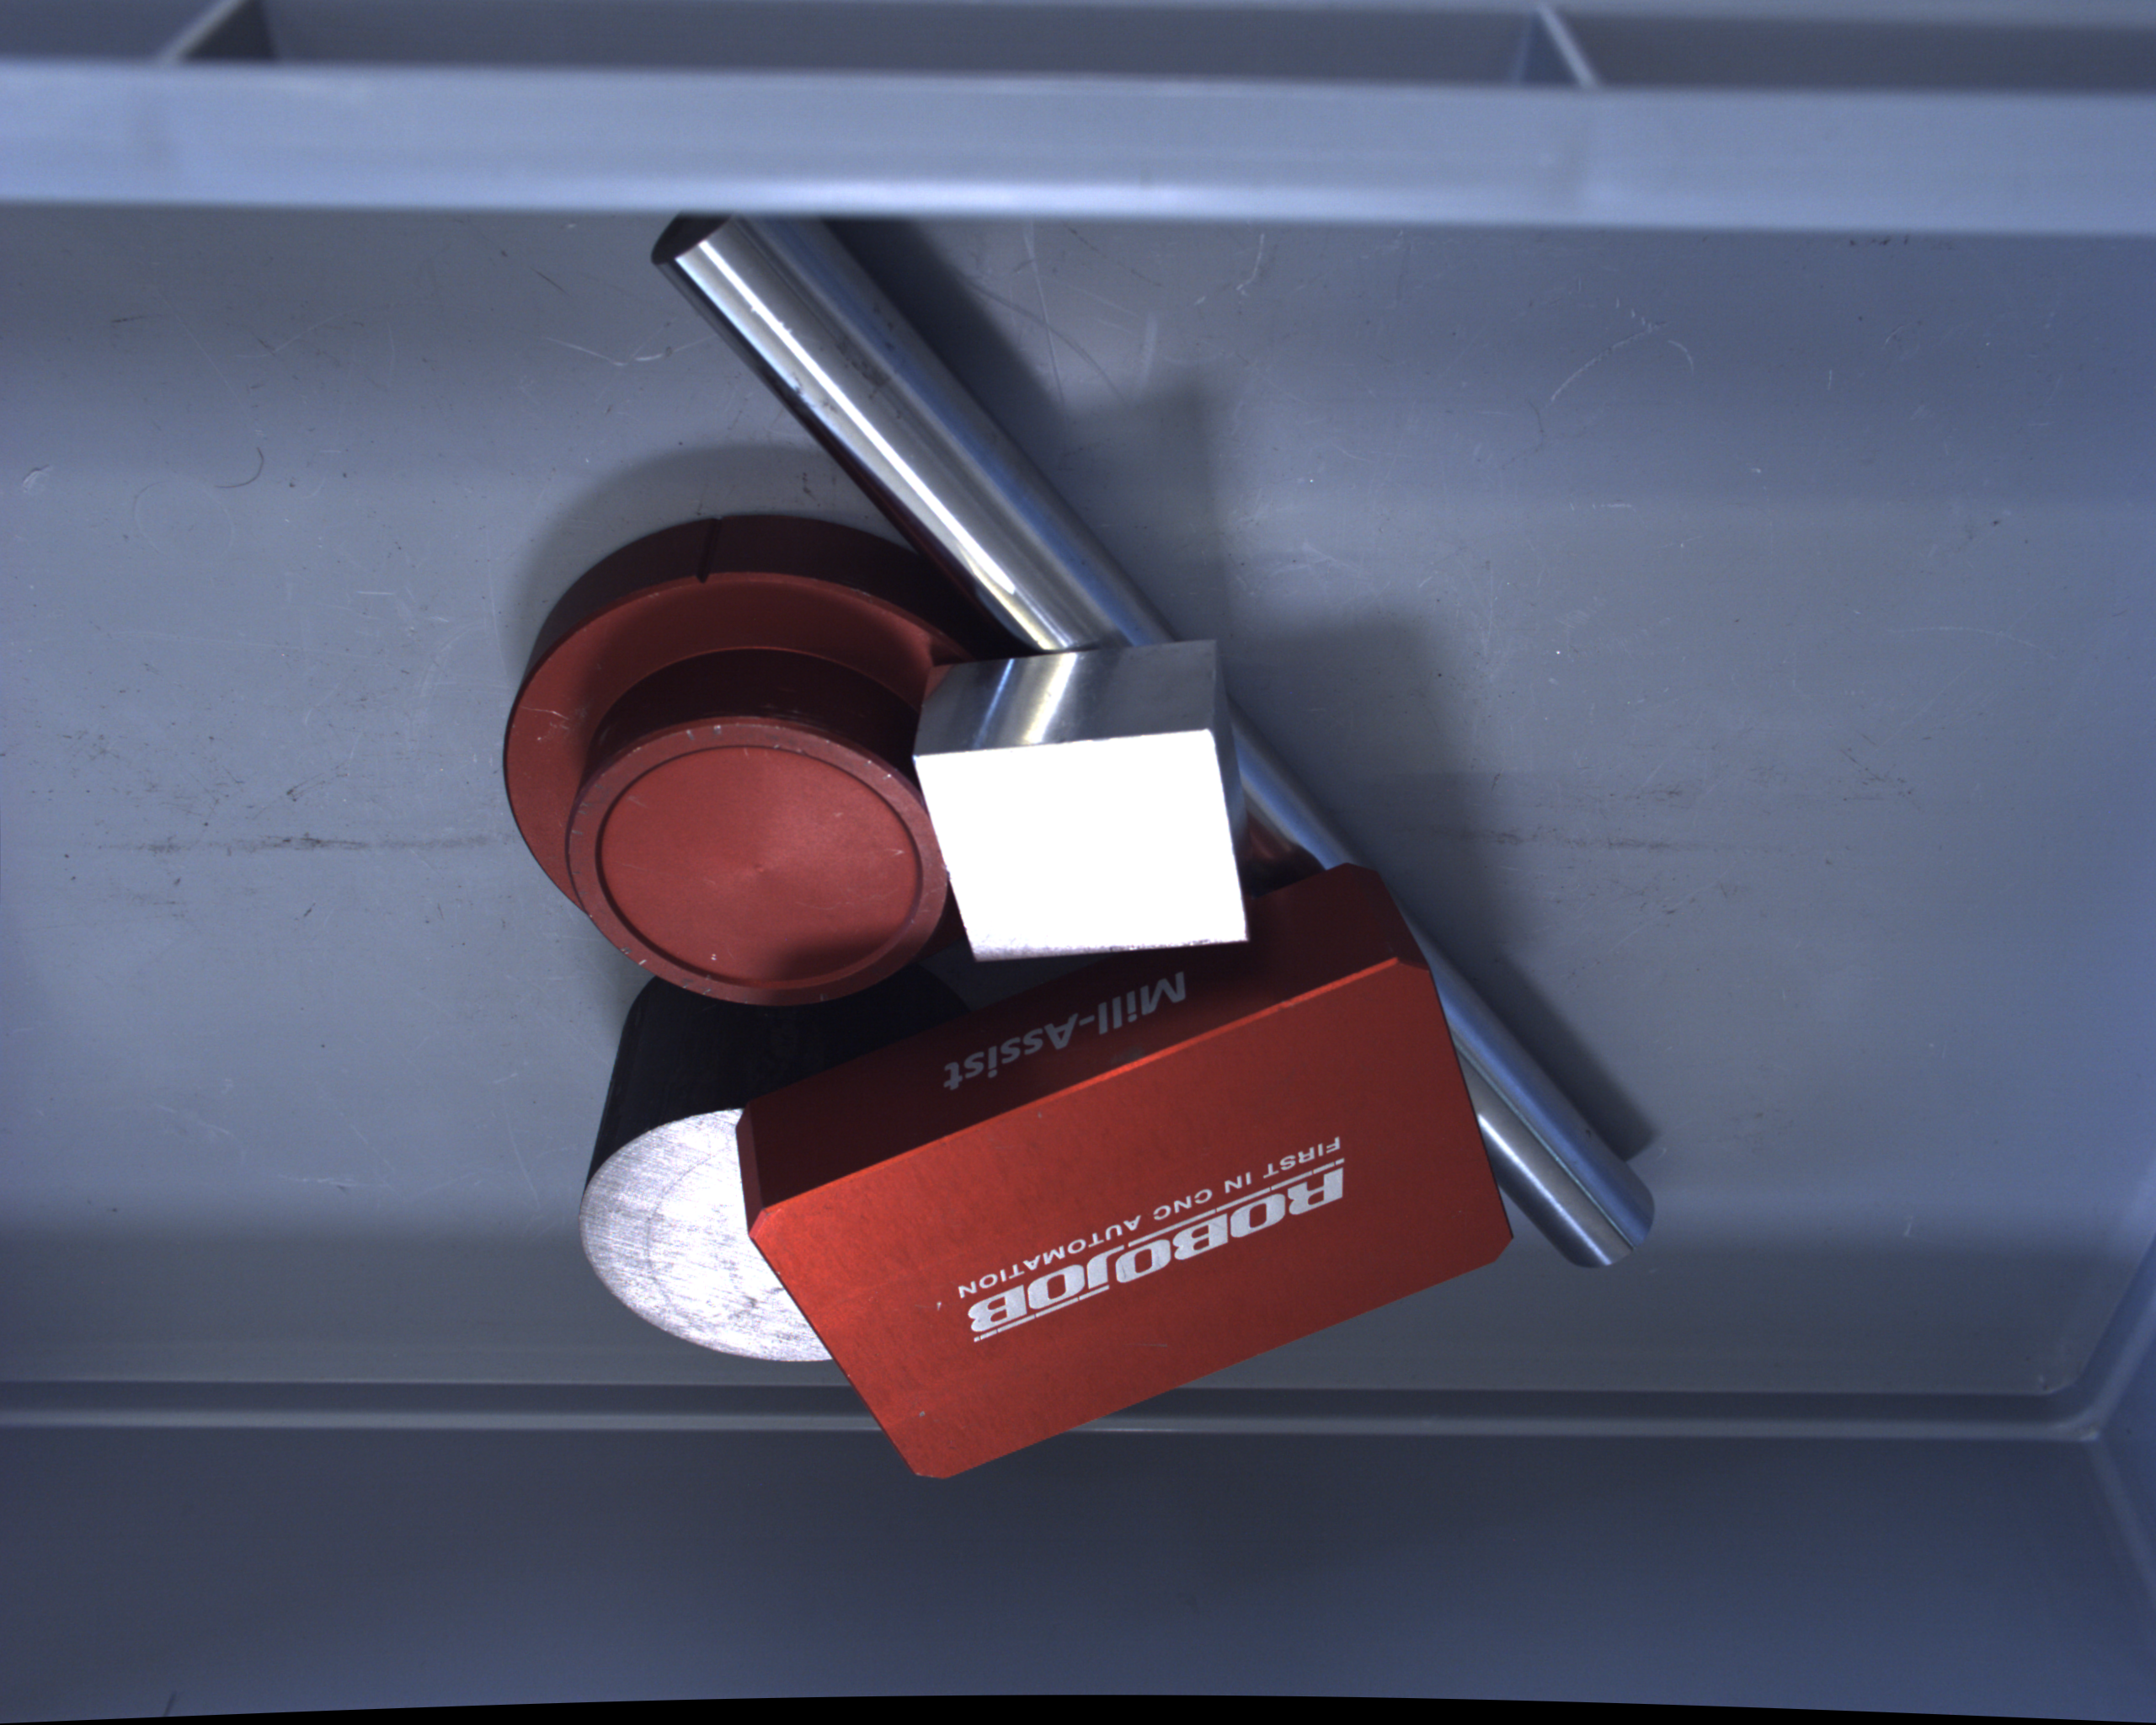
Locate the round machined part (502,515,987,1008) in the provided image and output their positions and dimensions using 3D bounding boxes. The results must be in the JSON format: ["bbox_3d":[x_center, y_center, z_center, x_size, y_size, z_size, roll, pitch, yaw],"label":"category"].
[{"bbox_3d":[-0.057,-0.011,0.384,0.099,0.042,0.097,0,130,1],"label":"round machined part"}]

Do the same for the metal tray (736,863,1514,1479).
[{"bbox_3d":[0.012,0.063,0.407,0.131,0.030,0.090,-22,128,1],"label":"metal tray"}]

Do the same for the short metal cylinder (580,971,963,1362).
[{"bbox_3d":[-0.060,0.061,0.441,0.081,0.050,0.079,0,130,0],"label":"short metal cylinder"}]

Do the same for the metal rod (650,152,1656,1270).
[{"bbox_3d":[0.032,-0.009,0.400,0.025,0.025,0.300,-29,125,22],"label":"metal rod"}]

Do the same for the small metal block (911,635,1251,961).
[{"bbox_3d":[0.003,-0.010,0.367,0.050,0.025,0.050,-4,133,10],"label":"small metal block"}]
